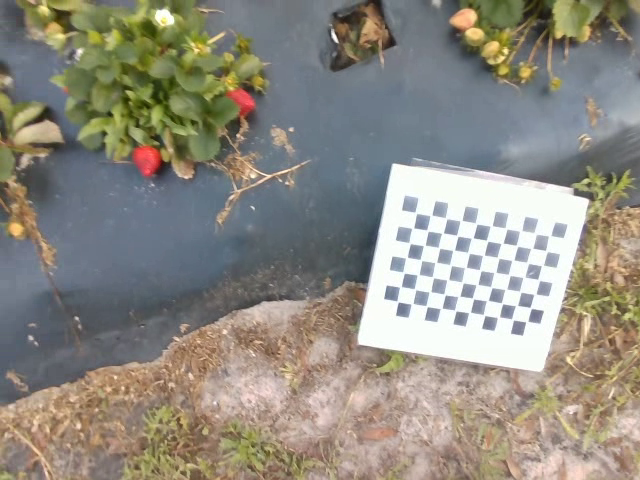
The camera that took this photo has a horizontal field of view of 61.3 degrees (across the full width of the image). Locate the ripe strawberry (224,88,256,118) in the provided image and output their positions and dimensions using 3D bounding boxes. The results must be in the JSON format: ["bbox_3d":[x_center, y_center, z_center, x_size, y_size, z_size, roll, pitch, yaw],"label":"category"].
[{"bbox_3d":[-0.114,-0.200,0.785,0.046,0.043,0.046,12,8,25],"label":"ripe strawberry"}]

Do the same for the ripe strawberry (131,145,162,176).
[{"bbox_3d":[-0.250,-0.110,0.772,0.043,0.051,0.043,-6,-18,-3],"label":"ripe strawberry"}]
